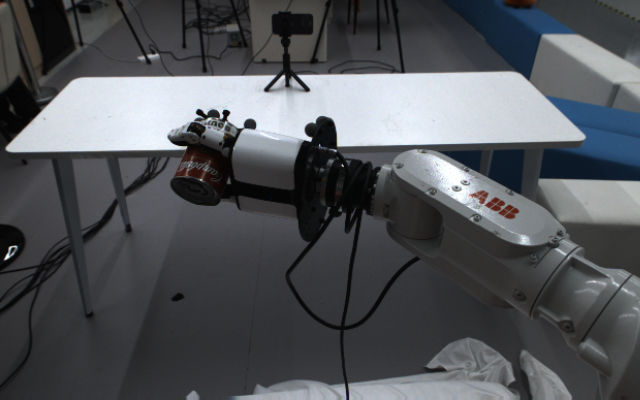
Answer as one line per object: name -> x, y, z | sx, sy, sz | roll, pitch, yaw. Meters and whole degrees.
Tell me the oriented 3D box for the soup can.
soup can -> -0.149, -0.052, 0.647 | 0.067, 0.067, 0.101 | 9, 58, 10
